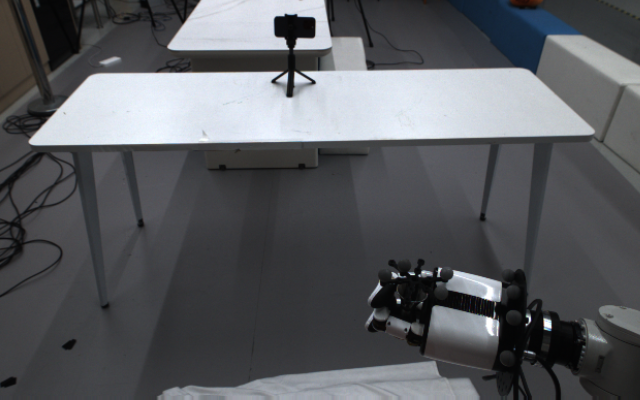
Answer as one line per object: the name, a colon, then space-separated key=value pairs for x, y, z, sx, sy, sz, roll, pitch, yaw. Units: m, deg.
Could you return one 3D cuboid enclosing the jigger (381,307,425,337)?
jigger: x=0.119 y=0.142 z=0.641 sx=0.043 sy=0.071 sz=0.043 roll=4 pitch=31 yaw=-2
